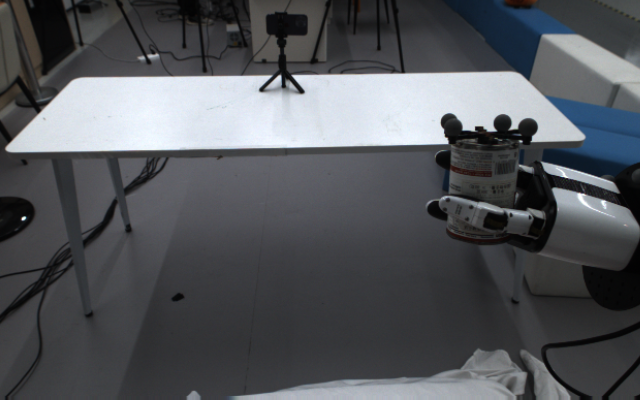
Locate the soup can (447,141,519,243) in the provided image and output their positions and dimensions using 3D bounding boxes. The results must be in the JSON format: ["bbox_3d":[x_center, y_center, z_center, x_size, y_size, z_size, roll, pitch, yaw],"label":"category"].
[{"bbox_3d":[0.171,-0.012,0.503,0.067,0.101,0.067,-2,17,0],"label":"soup can"}]
